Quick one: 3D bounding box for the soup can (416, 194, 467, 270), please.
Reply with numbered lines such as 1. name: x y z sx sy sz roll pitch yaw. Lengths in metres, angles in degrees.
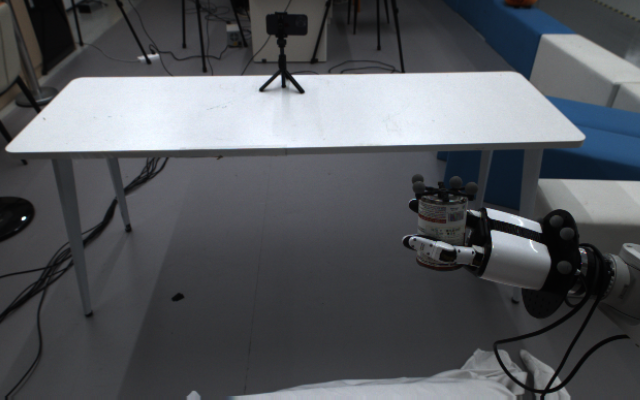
1. soup can: 0.174 0.041 0.687 0.067 0.101 0.067 -1 17 0
